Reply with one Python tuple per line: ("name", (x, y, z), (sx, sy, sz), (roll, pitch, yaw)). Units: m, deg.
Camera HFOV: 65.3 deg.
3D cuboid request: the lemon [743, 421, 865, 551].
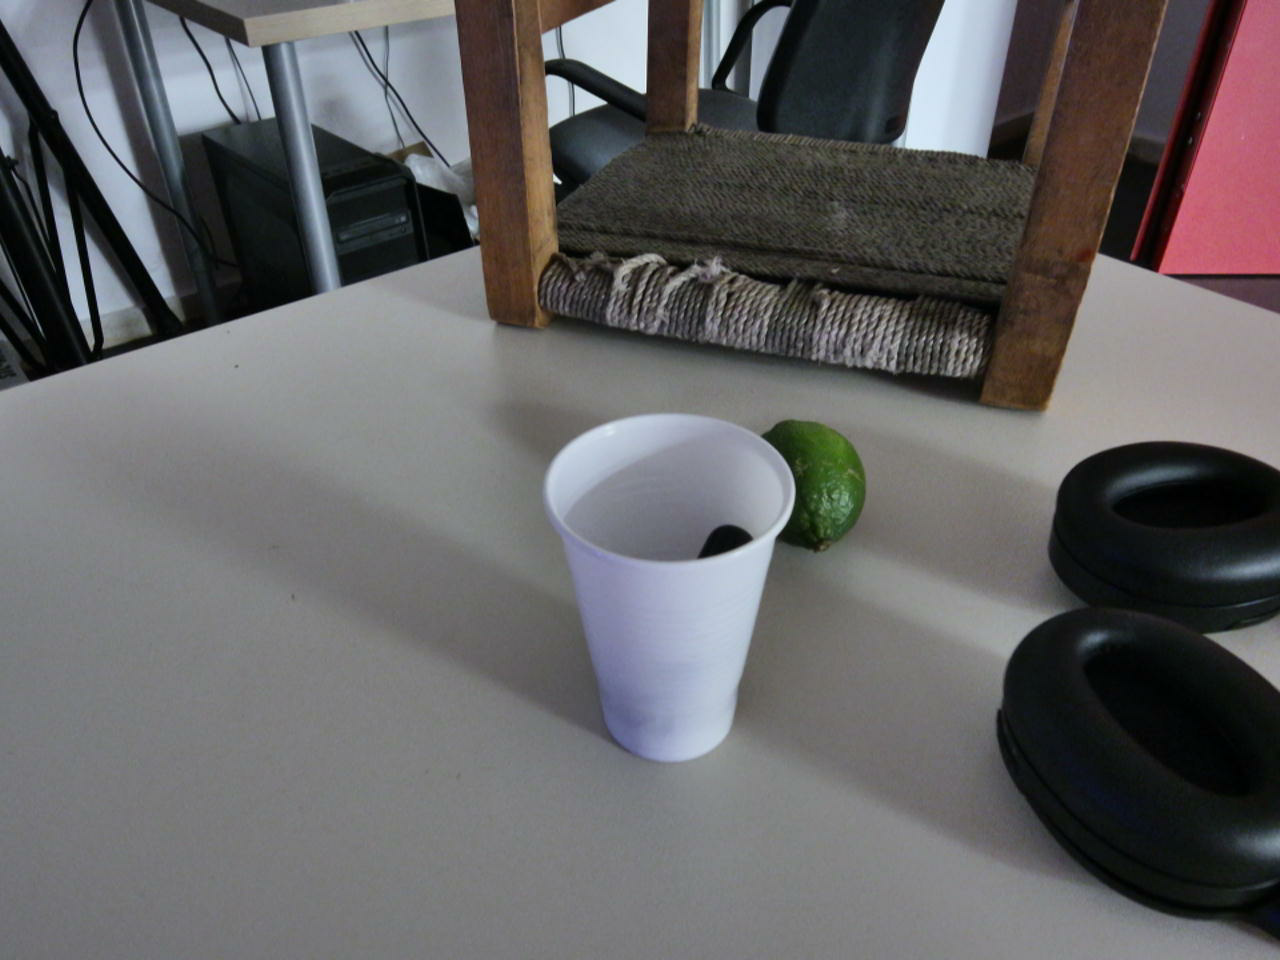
("lemon", (0.072, 0.001, 0.437), (0.054, 0.051, 0.057), (-28, 43, -33))
